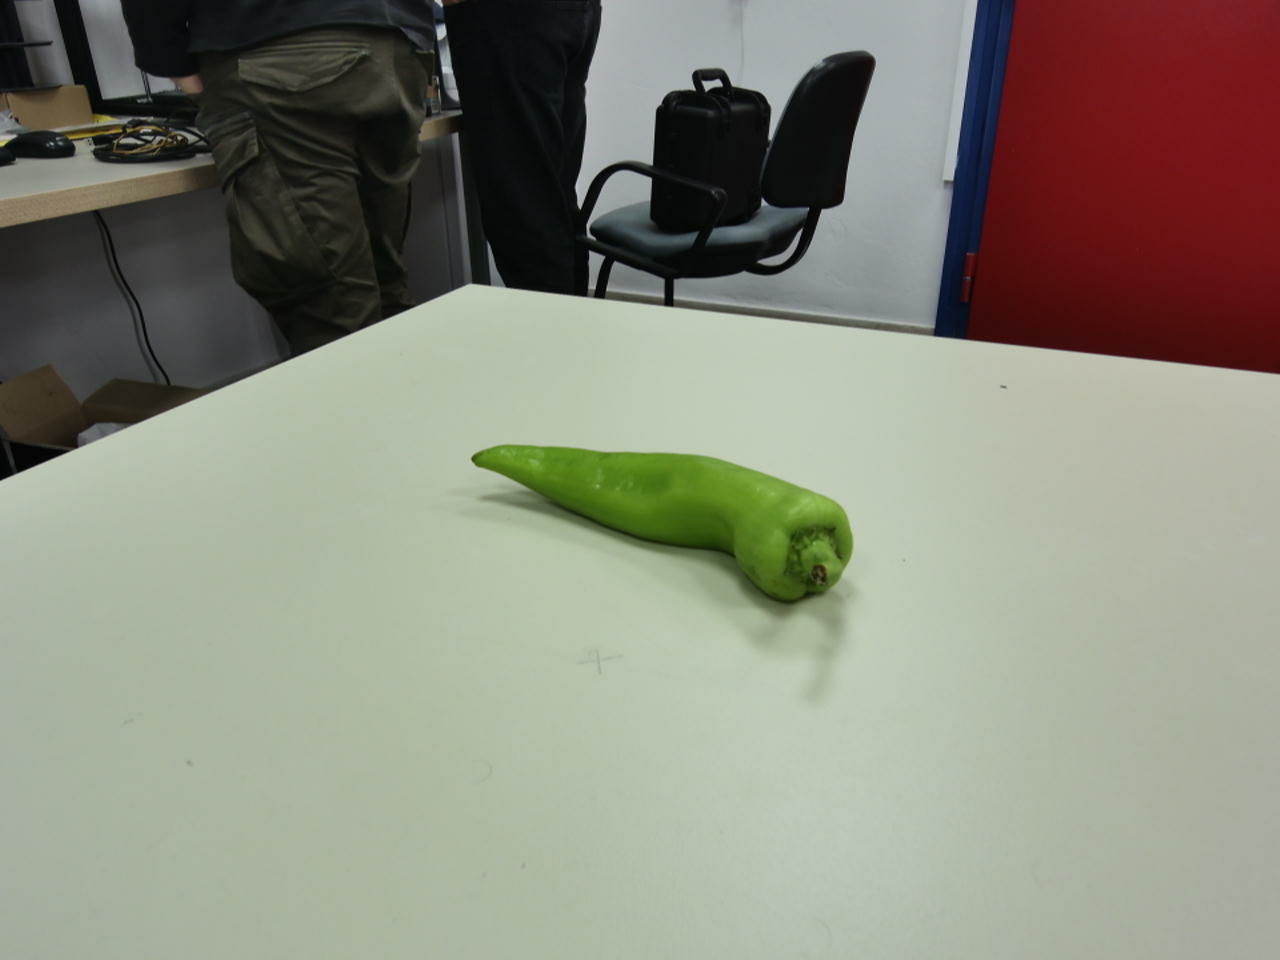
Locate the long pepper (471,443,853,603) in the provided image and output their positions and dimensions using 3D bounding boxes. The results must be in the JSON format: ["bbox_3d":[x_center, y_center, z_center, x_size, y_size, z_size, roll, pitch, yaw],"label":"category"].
[{"bbox_3d":[0.013,0.008,0.449,0.205,0.045,0.065,20,31,38],"label":"long pepper"}]
